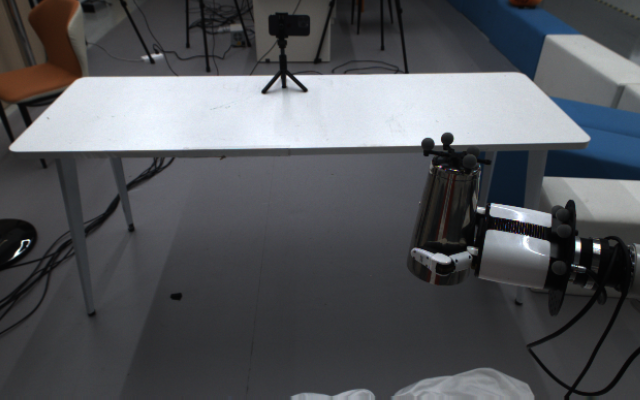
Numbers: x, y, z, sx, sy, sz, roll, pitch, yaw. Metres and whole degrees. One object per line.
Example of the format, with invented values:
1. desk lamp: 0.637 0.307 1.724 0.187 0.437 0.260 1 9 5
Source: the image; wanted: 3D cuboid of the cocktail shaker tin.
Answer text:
1. cocktail shaker tin: 0.180 0.025 0.686 0.093 0.170 0.093 1 28 -1
